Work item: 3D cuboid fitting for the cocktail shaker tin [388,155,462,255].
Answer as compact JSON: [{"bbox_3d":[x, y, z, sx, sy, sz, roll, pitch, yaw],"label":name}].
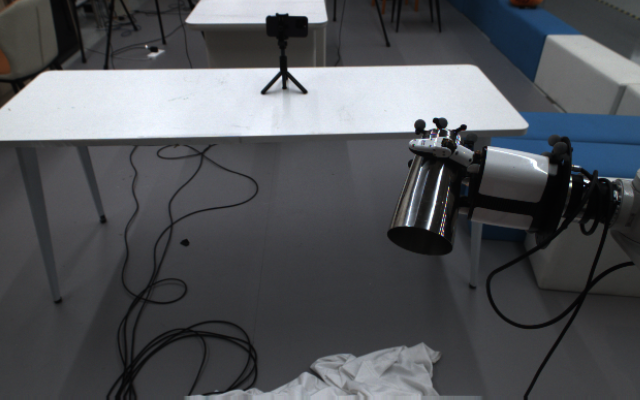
[{"bbox_3d":[0.164,-0.020,0.699,0.093,0.093,0.170,12,65,15],"label":"cocktail shaker tin"}]
